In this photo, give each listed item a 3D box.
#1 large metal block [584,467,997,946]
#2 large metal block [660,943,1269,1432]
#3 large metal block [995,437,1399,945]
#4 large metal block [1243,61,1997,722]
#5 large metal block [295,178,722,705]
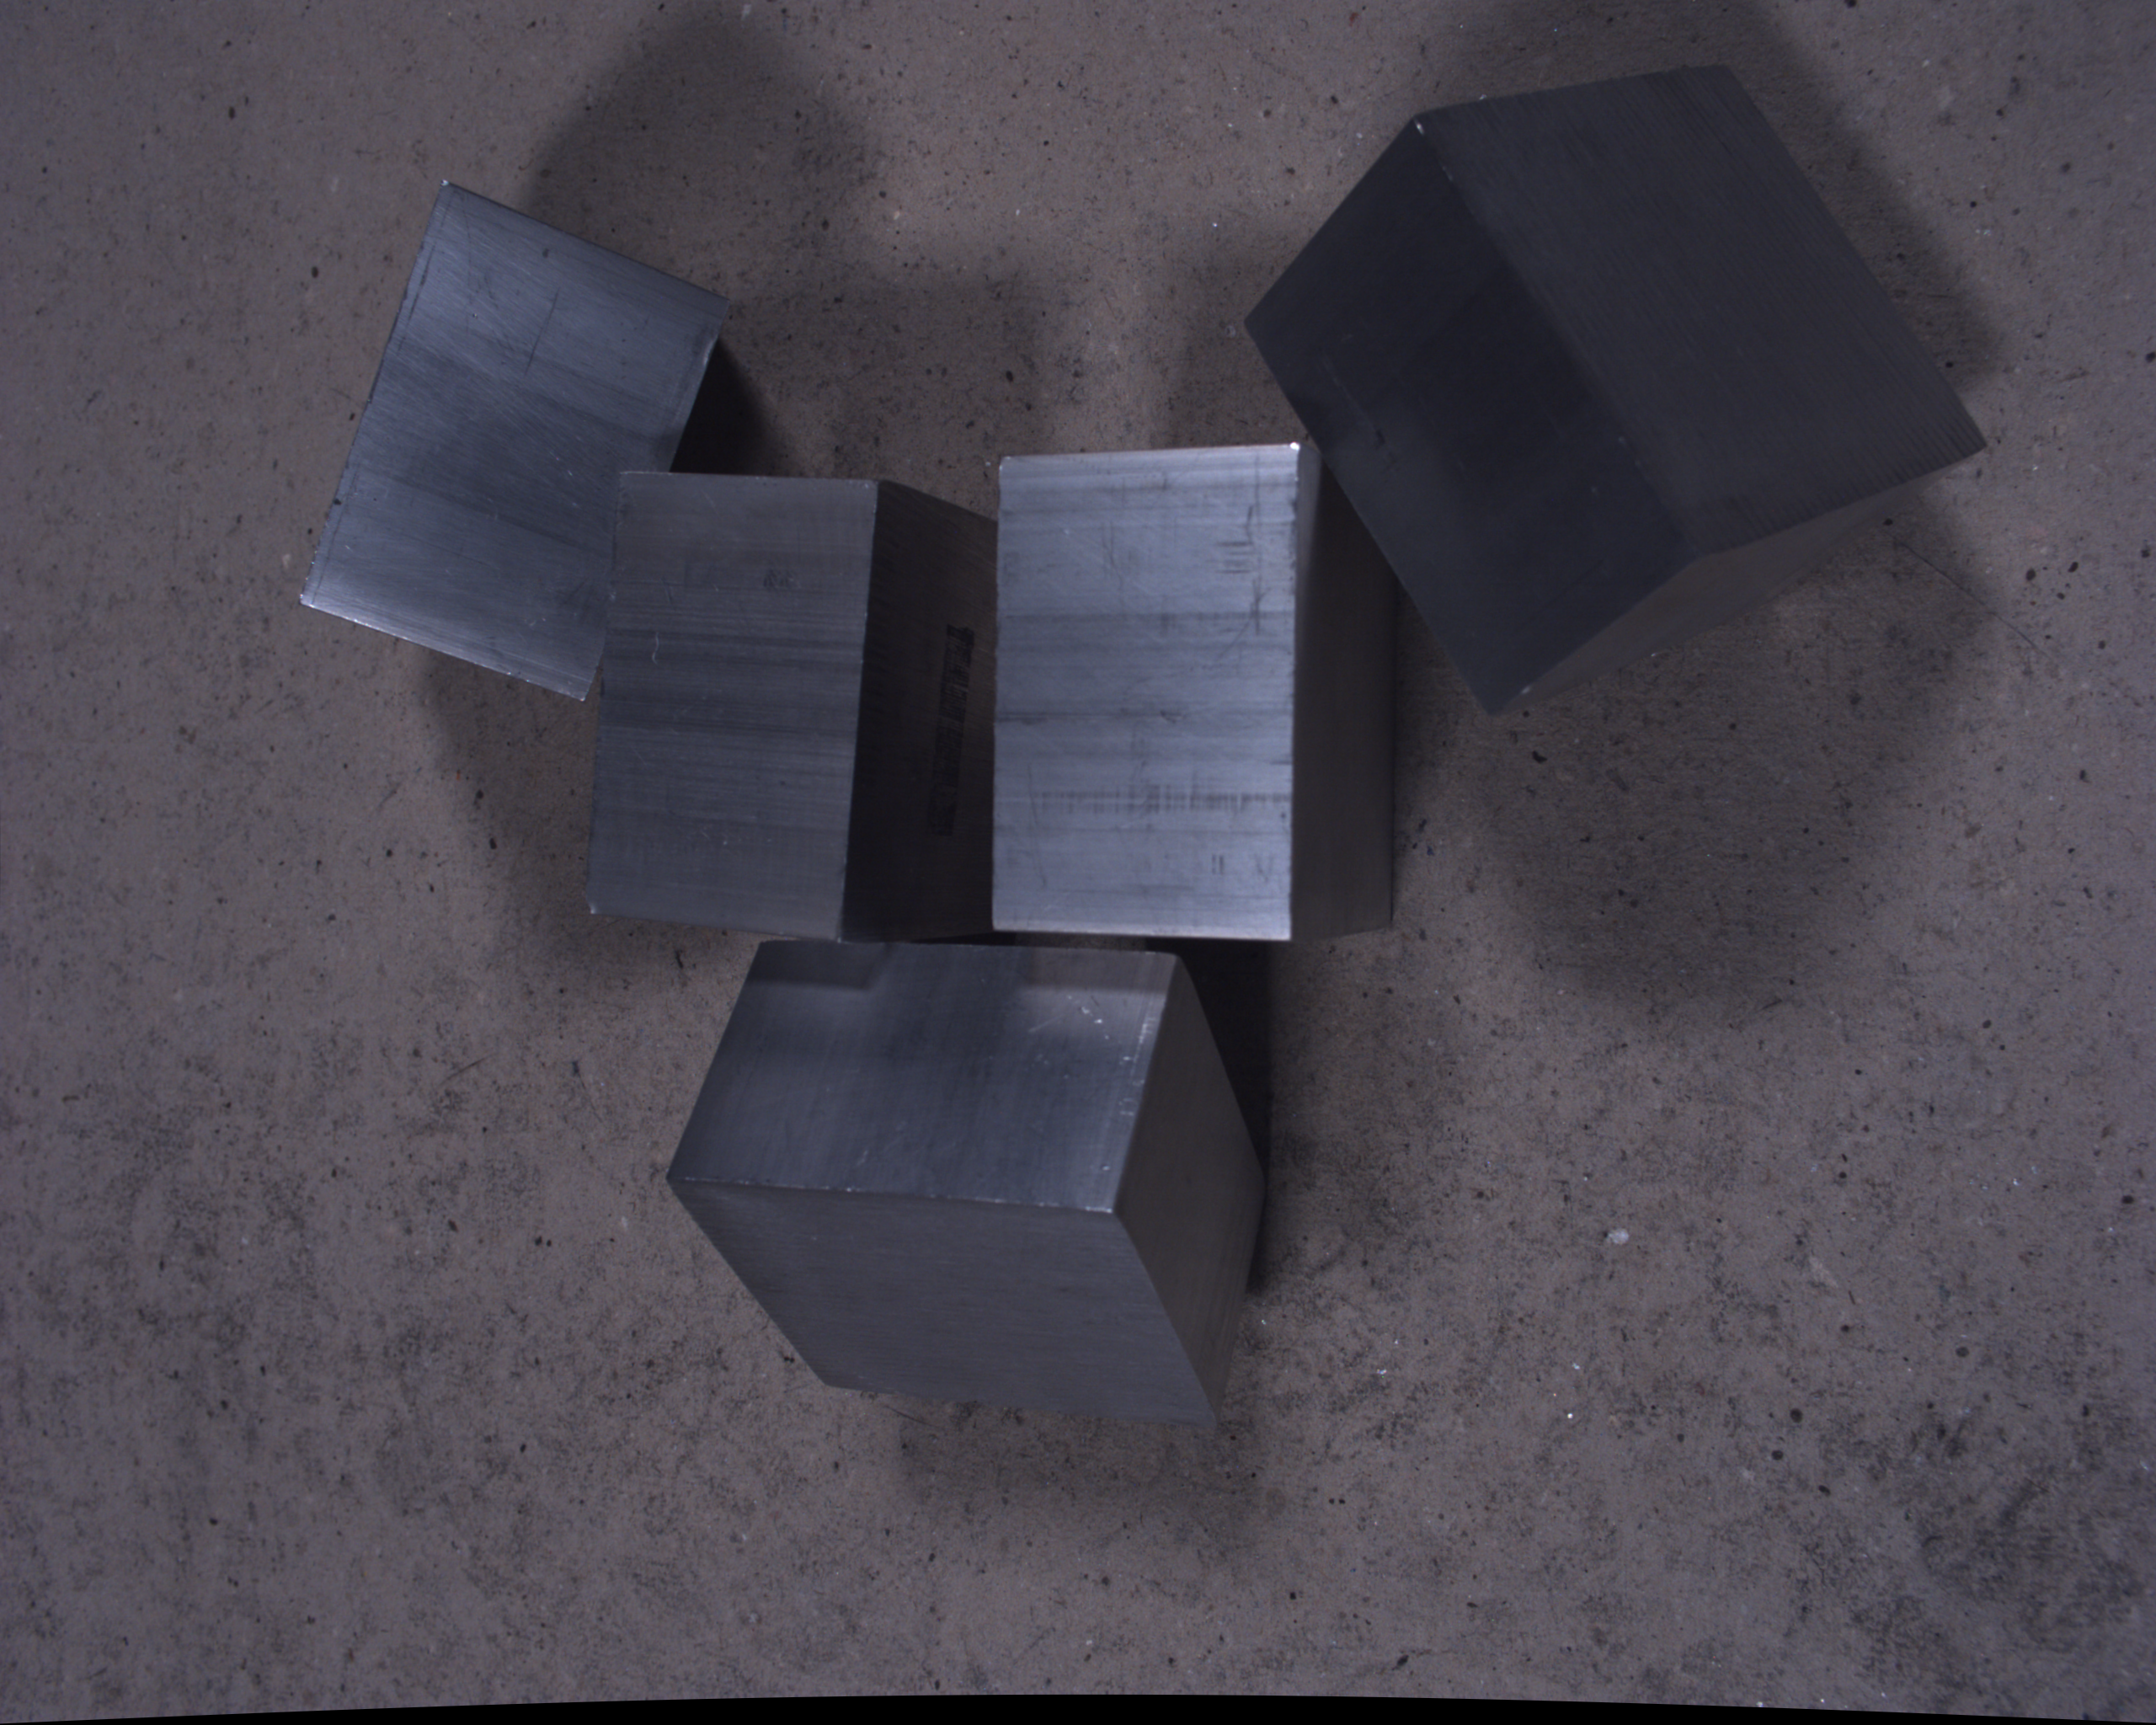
[{"bbox_3d":[-0.047,-0.028,0.397,0.050,0.080,0.079,5,92,19],"label":"large metal block"},{"bbox_3d":[-0.016,0.059,0.379,0.080,0.080,0.050,1,51,20],"label":"large metal block"},{"bbox_3d":[0.024,-0.027,0.372,0.050,0.080,0.079,1,90,20],"label":"large metal block"},{"bbox_3d":[0.088,-0.079,0.343,0.080,0.081,0.050,61,144,10],"label":"large metal block"},{"bbox_3d":[-0.111,-0.083,0.409,0.050,0.080,0.080,19,98,-18],"label":"large metal block"}]
